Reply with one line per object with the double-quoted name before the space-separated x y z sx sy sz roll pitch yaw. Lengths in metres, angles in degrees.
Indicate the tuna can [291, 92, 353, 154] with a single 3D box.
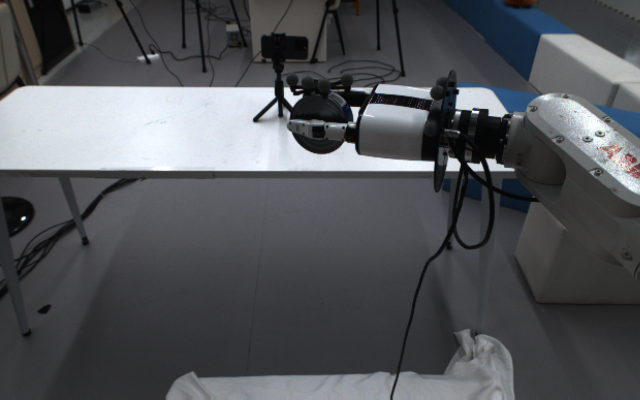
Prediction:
"tuna can" 0.003 -0.112 0.683 0.085 0.085 0.034 14 29 16
